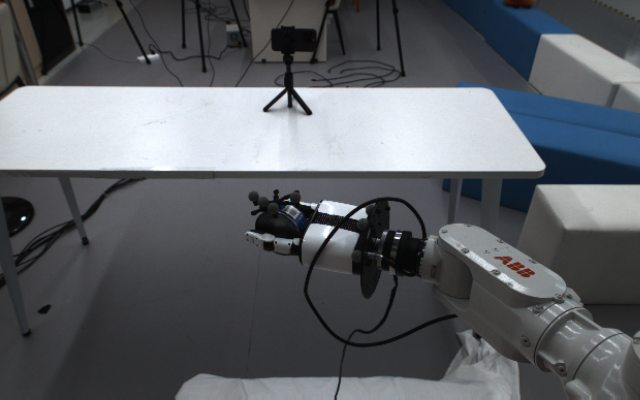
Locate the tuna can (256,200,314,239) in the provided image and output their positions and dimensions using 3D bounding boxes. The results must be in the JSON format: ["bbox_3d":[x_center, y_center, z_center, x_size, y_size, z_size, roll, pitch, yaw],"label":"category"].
[{"bbox_3d":[-0.060,0.046,0.790,0.085,0.085,0.034,17,36,20],"label":"tuna can"}]
